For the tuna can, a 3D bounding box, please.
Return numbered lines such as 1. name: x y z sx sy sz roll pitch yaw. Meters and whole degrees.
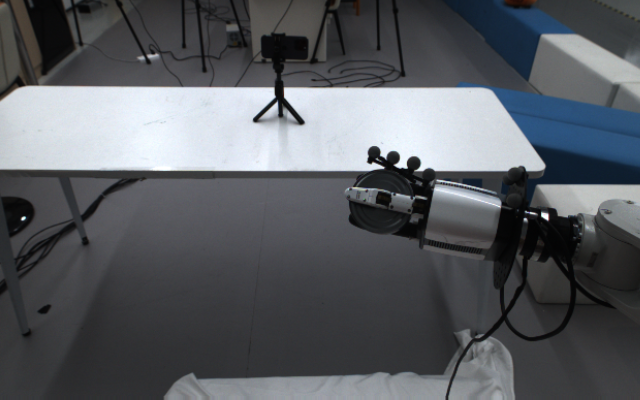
1. tuna can: 0.085 0.001 0.645 0.085 0.085 0.034 14 -7 16
